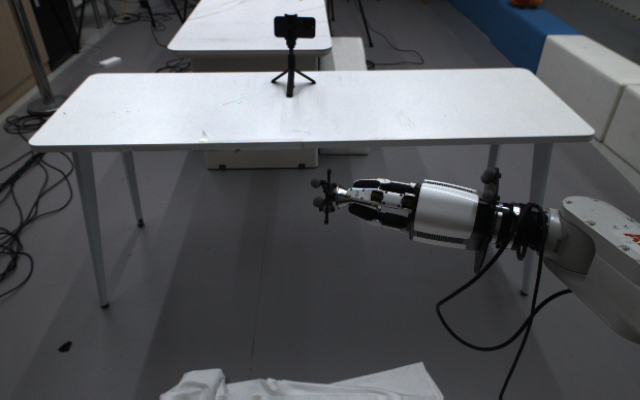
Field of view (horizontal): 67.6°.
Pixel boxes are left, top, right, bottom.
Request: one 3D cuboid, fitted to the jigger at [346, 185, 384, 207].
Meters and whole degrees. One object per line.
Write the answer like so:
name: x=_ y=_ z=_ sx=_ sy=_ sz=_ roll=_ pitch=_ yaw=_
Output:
jigger: x=0.069 y=-0.009 z=0.765 sx=0.071 sy=0.043 sz=0.043 roll=2 pitch=34 yaw=16
